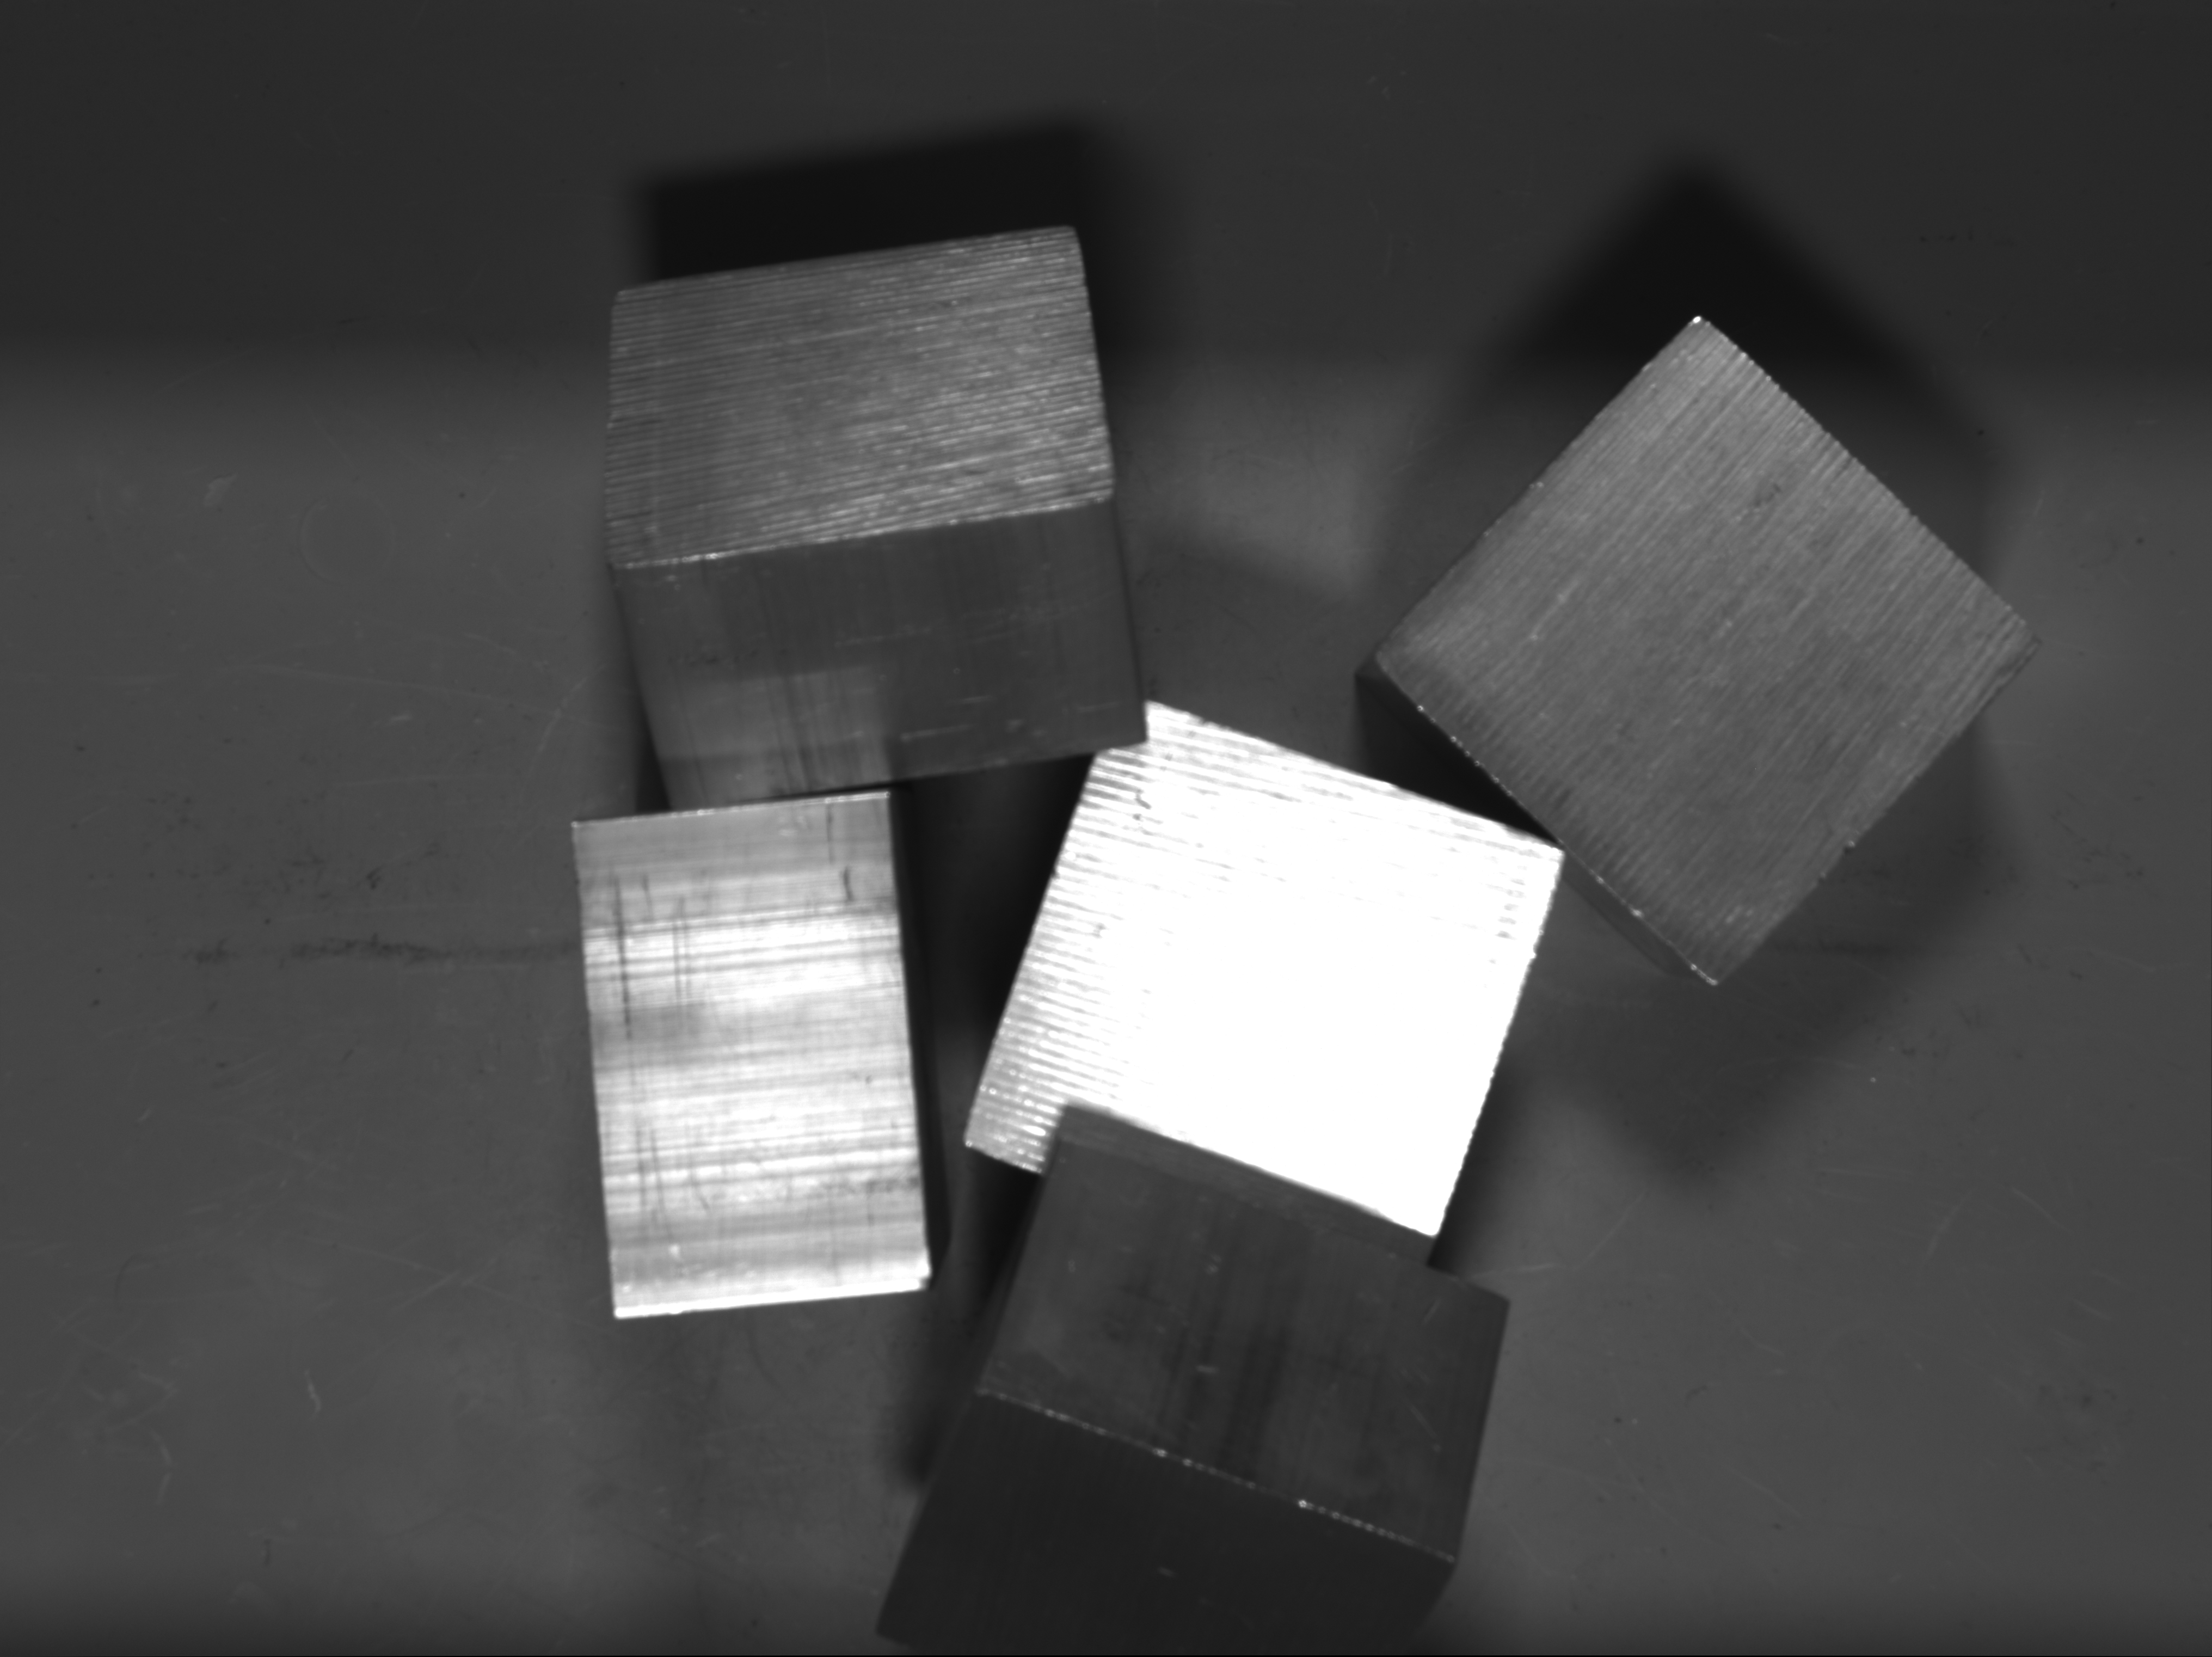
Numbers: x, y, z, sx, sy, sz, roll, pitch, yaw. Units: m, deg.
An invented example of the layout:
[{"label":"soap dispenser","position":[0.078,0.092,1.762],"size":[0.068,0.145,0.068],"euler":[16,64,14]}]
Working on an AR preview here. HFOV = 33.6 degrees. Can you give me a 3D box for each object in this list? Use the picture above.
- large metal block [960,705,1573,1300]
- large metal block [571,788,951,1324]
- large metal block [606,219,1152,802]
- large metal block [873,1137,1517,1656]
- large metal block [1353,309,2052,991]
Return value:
[{"label":"large metal block","position":[0.027,0.028,0.633],"size":[0.080,0.050,0.080],"euler":[19,90,0]},{"label":"large metal block","position":[-0.056,0.036,0.616],"size":[0.050,0.080,0.080],"euler":[-5,90,0]},{"label":"large metal block","position":[-0.038,-0.054,0.610],"size":[0.080,0.080,0.050],"euler":[-7,132,0]},{"label":"large metal block","position":[0.014,0.107,0.610],"size":[0.080,0.080,0.050],"euler":[20,47,-2]},{"label":"large metal block","position":[0.100,-0.030,0.632],"size":[0.080,0.050,0.080],"euler":[44,90,0]}]
